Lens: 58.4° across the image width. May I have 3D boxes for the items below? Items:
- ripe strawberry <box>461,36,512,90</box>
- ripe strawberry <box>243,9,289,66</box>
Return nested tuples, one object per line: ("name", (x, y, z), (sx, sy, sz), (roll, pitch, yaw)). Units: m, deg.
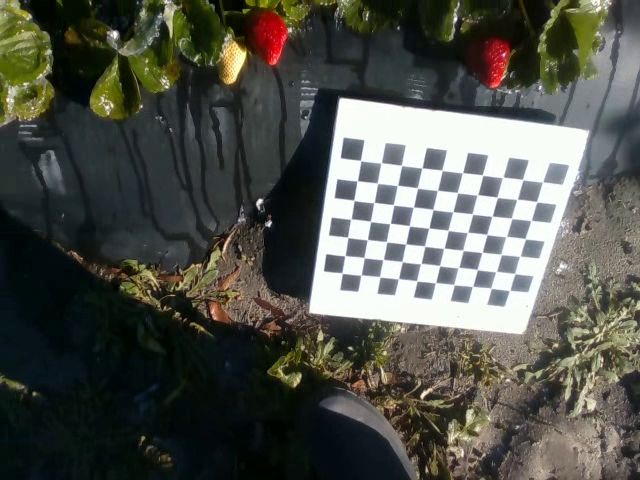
("ripe strawberry", (0.177, -0.184, 0.590), (0.049, 0.061, 0.044), (0, -9, -3))
("ripe strawberry", (-0.051, -0.198, 0.578), (0.043, 0.061, 0.046), (-7, -18, 0))
